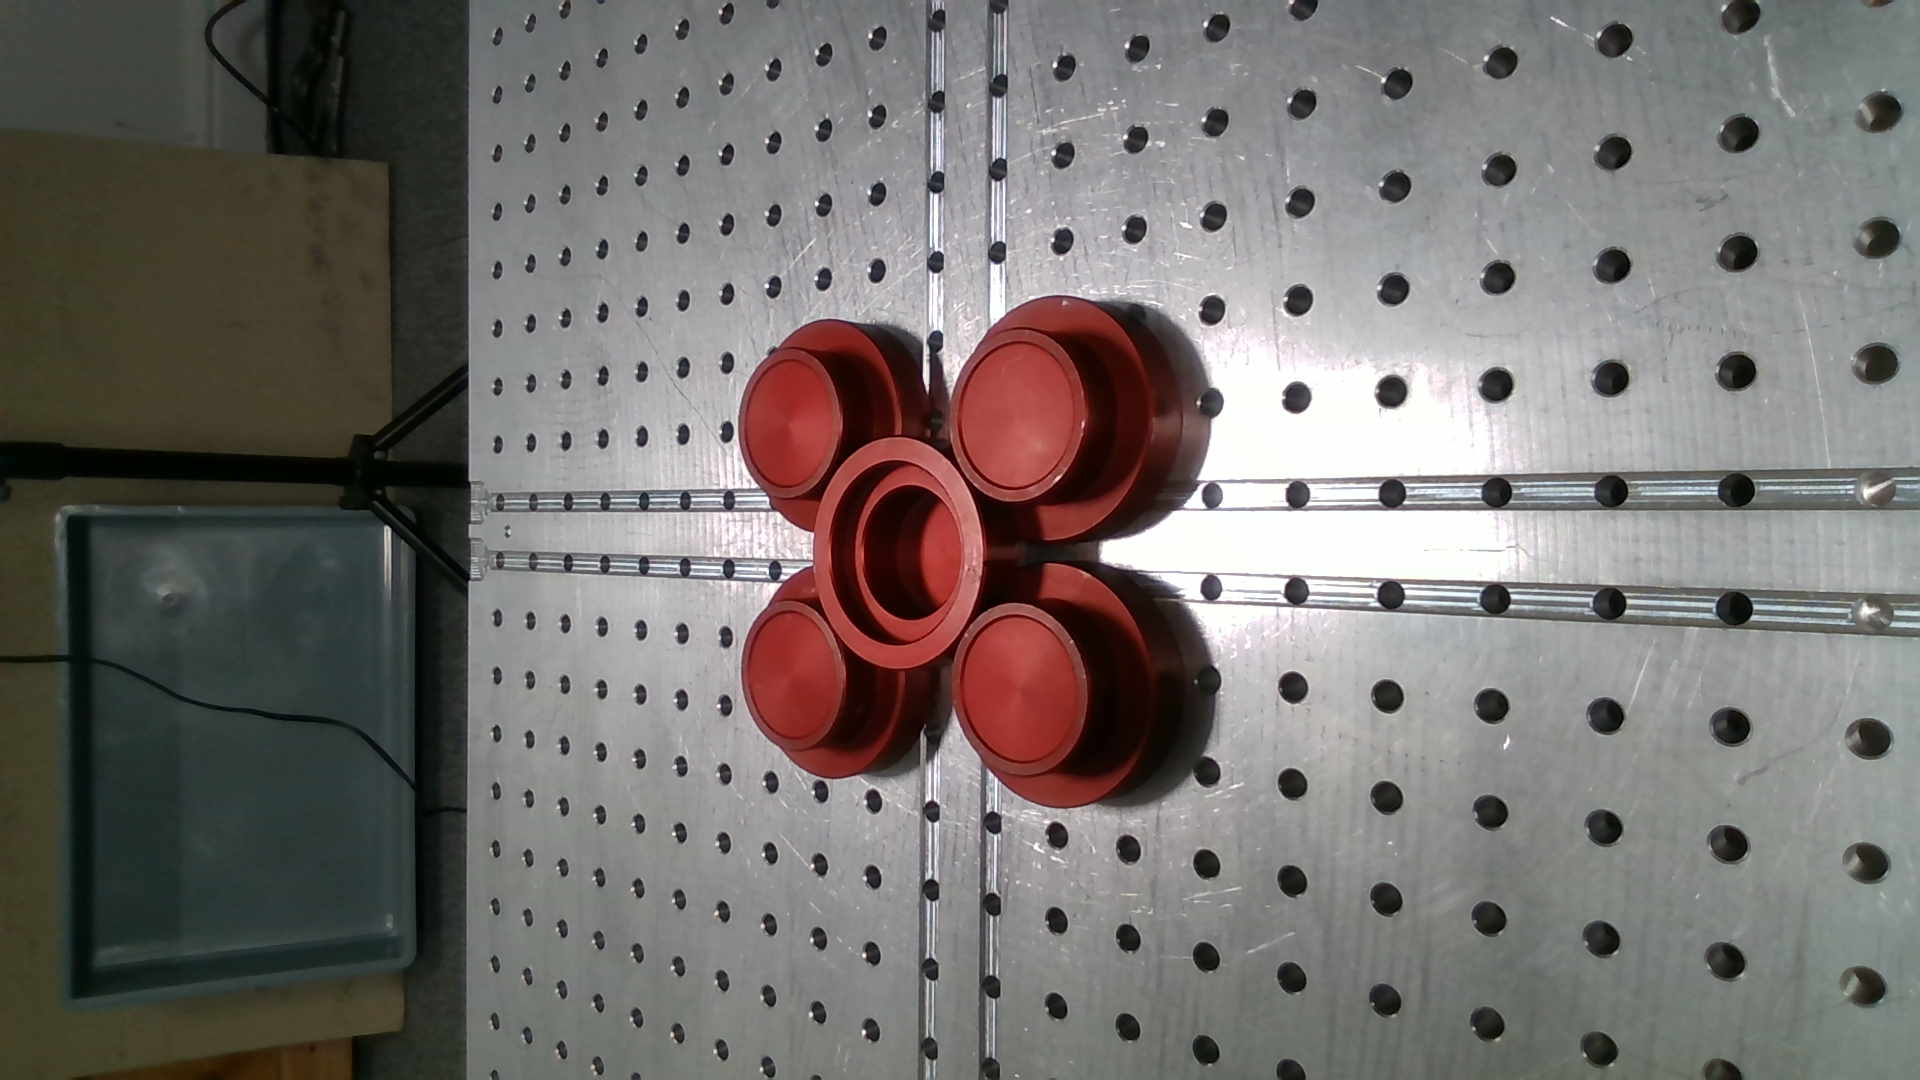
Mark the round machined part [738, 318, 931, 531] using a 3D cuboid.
[{"bbox_3d":[-0.063,-0.052,0.627,0.098,0.042,0.098,0,91,40],"label":"round machined part"}]

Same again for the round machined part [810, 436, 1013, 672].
[{"bbox_3d":[-0.015,0.006,0.585,0.098,0.042,0.098,0,91,40],"label":"round machined part"}]

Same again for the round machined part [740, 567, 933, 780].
[{"bbox_3d":[-0.062,0.060,0.627,0.098,0.042,0.098,0,91,40],"label":"round machined part"}]

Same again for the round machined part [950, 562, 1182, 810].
[{"bbox_3d":[0.035,0.058,0.544,0.098,0.042,0.098,0,91,40],"label":"round machined part"}]

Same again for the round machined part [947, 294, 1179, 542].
[{"bbox_3d":[0.034,-0.048,0.544,0.098,0.042,0.098,0,91,40],"label":"round machined part"}]
